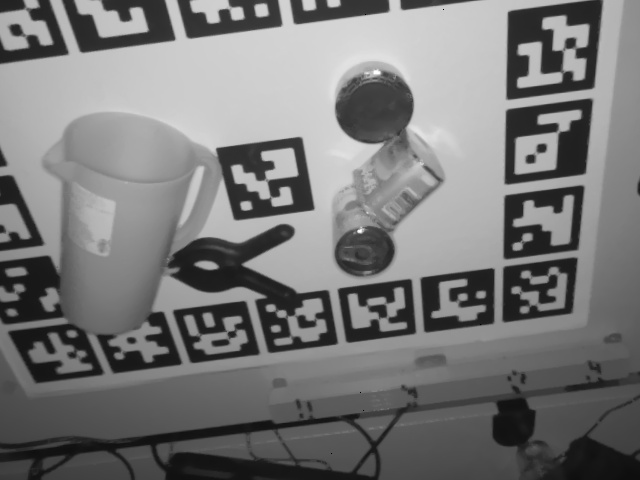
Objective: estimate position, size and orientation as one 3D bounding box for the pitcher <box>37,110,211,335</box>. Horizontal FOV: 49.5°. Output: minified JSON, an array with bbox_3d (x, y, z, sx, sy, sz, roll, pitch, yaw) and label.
[{"bbox_3d":[-0.228,-0.011,0.771,0.191,0.133,0.239,-2,133,-28],"label":"pitcher"}]

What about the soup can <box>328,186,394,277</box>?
[{"bbox_3d":[0.046,-0.012,0.810,0.068,0.102,0.067,-2,120,-3],"label":"soup can"}]

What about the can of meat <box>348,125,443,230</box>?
[{"bbox_3d":[0.083,-0.073,0.769,0.083,0.102,0.058,-41,114,17],"label":"can of meat"}]

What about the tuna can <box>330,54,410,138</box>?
[{"bbox_3d":[0.053,-0.157,0.757,0.086,0.034,0.085,-2,120,-2],"label":"tuna can"}]

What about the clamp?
[{"bbox_3d":[-0.103,0.033,0.879,0.165,0.037,0.121,-4,126,3],"label":"clamp"}]
